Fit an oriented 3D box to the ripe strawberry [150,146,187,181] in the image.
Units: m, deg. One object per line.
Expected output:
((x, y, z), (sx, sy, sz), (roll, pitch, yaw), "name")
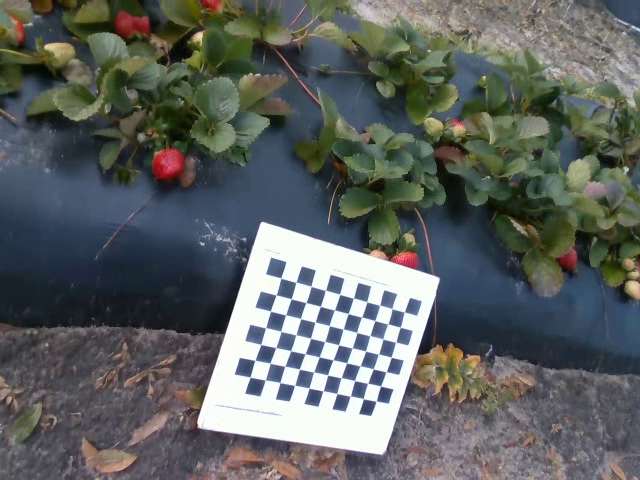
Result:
((-0.212, -0.101, 0.834), (0.050, 0.049, 0.053), (10, 22, -27), "ripe strawberry")
